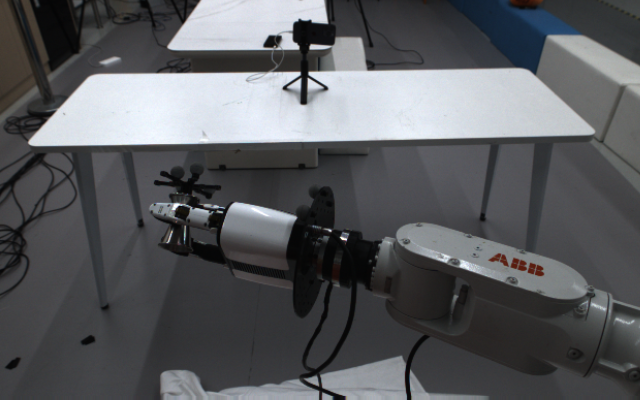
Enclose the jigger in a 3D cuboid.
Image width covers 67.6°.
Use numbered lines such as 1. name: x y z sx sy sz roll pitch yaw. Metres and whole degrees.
1. jigger: -0.179 0.029 0.620 0.043 0.043 0.071 5 71 4
